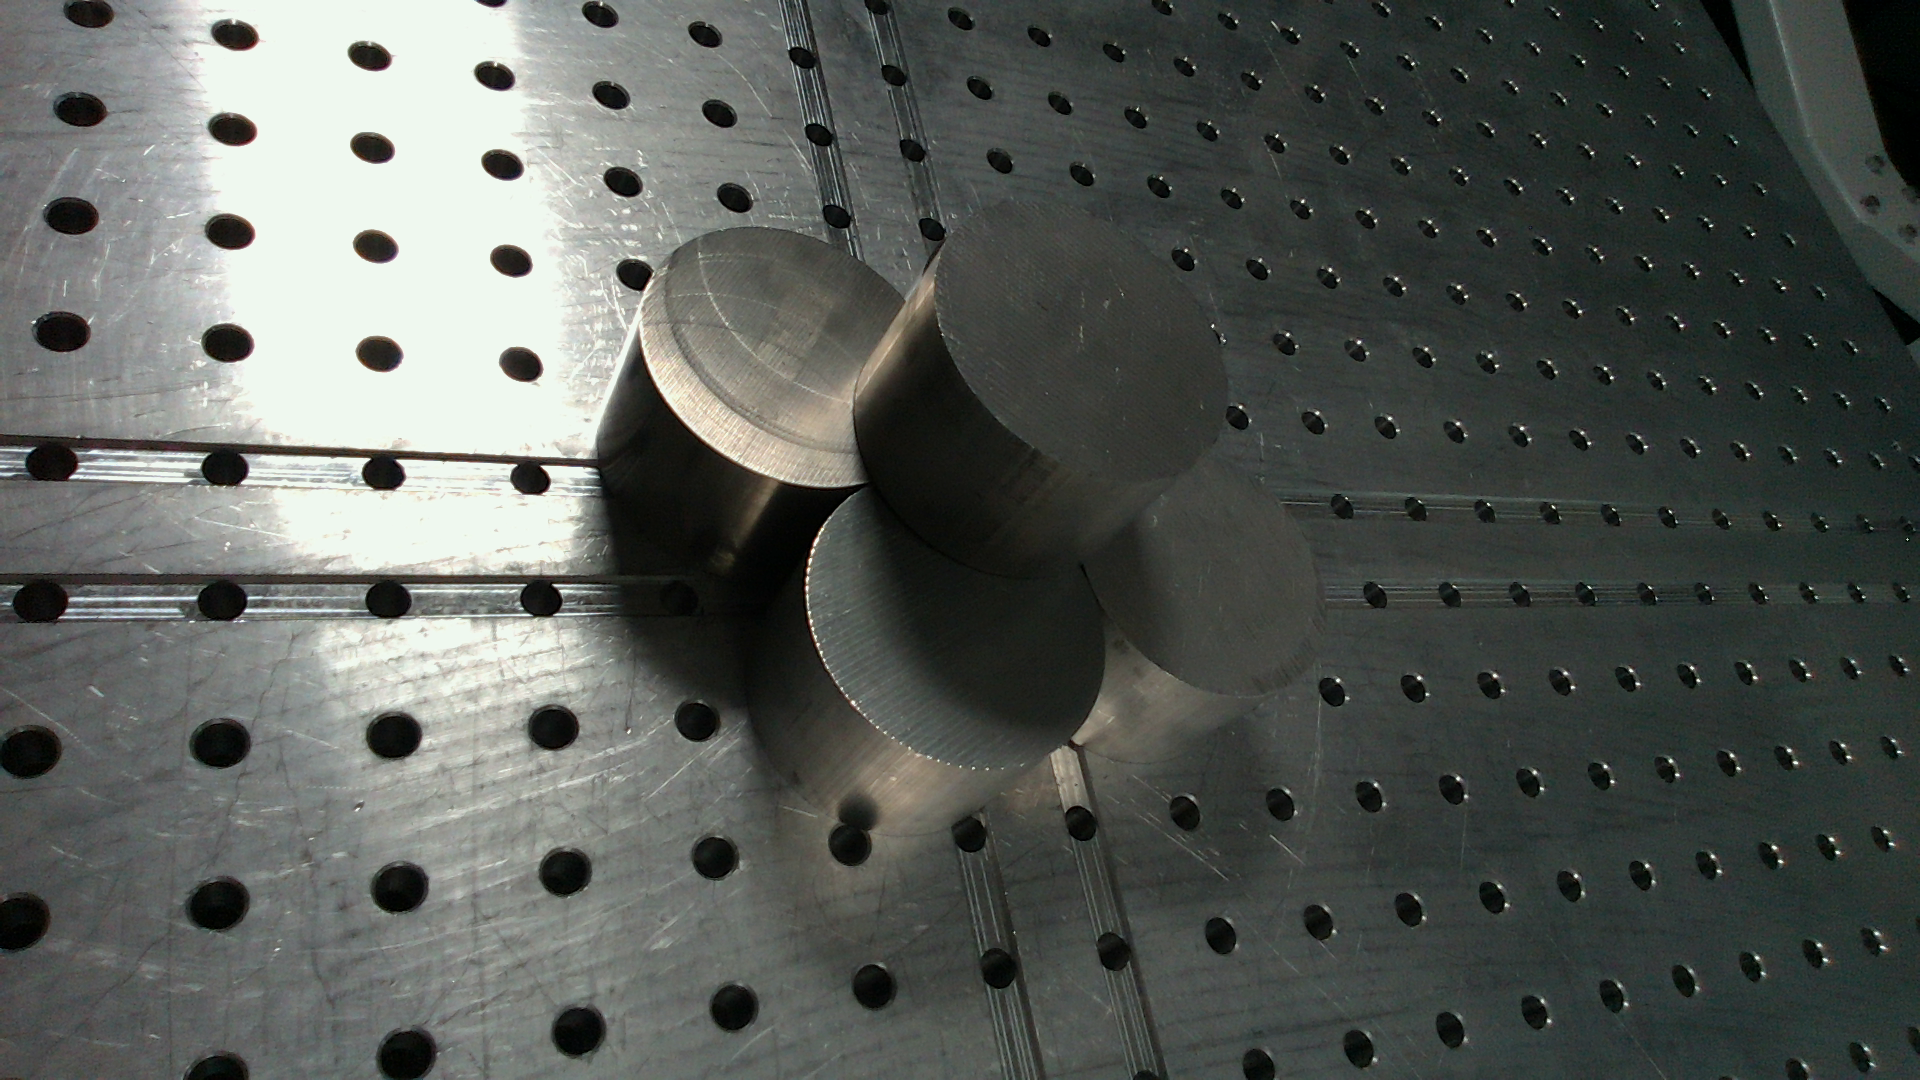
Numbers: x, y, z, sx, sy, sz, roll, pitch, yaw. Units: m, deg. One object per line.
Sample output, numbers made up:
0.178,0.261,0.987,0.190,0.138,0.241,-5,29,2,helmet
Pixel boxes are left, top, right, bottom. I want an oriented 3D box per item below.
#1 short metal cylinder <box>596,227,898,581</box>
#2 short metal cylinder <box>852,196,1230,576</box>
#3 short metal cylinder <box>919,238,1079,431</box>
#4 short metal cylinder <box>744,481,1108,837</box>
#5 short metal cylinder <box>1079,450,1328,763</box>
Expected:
-0.052,-0.036,0.370,0.080,0.050,0.080,14,56,-21,short metal cylinder
0.020,-0.038,0.344,0.080,0.050,0.080,14,57,-22,short metal cylinder
0.015,-0.049,0.413,0.080,0.050,0.080,14,56,-21,short metal cylinder
-0.009,0.030,0.353,0.080,0.050,0.080,14,56,-21,short metal cylinder
0.057,0.018,0.396,0.080,0.050,0.080,14,56,-21,short metal cylinder
